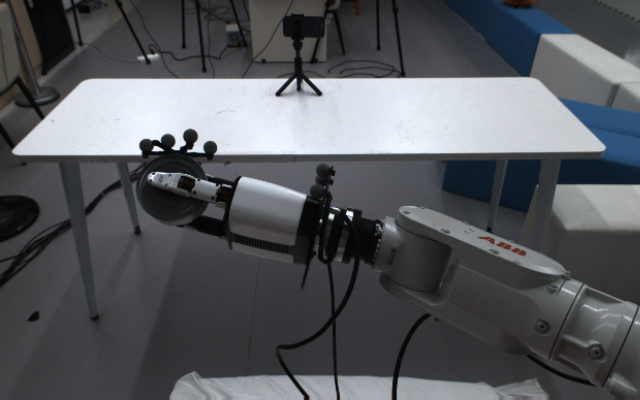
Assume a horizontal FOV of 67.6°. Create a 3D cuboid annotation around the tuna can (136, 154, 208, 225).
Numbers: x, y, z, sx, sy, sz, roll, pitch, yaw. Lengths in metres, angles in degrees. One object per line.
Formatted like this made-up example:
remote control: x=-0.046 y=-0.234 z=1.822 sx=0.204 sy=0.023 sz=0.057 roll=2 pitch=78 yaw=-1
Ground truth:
tuna can: x=-0.177 y=-0.012 z=0.599 sx=0.085 sy=0.034 sz=0.085 roll=1 pitch=70 yaw=-4
